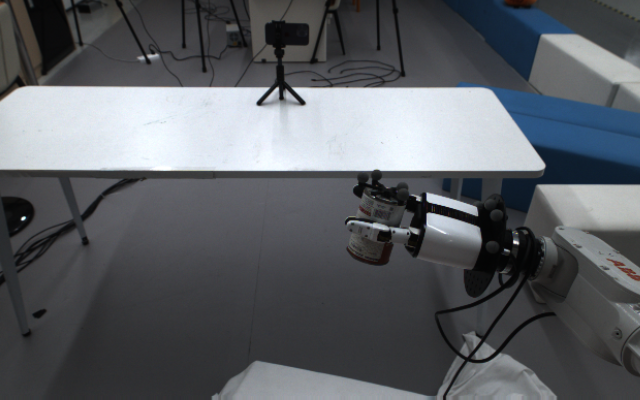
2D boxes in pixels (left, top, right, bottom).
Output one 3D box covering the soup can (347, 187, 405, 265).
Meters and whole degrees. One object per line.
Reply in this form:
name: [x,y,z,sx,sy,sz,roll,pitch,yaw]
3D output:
soup can: [0.086,0.038,0.727,0.067,0.101,0.067,13,18,-4]
